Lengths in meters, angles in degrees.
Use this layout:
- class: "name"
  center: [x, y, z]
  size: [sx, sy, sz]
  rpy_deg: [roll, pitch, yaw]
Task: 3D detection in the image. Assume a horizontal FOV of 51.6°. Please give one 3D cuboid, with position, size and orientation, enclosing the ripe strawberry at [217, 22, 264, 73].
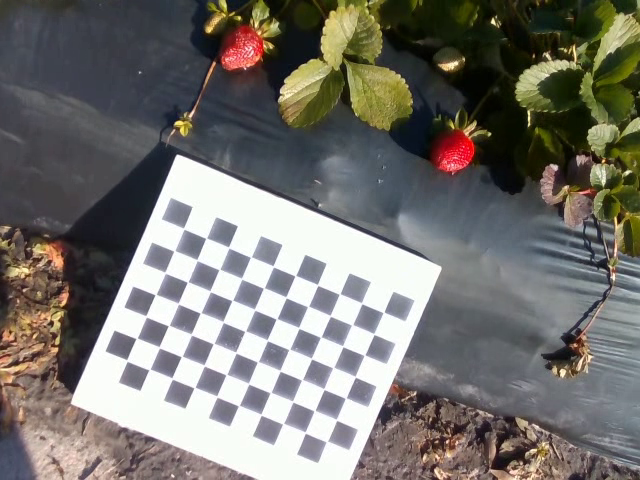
- class: "ripe strawberry"
  center: [-0.071, -0.168, 0.577]
  size: [0.041, 0.053, 0.043]
  rpy_deg: [34, -42, -7]

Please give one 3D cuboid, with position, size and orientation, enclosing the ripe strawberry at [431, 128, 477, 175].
- class: "ripe strawberry"
  center: [0.114, -0.075, 0.580]
  size: [0.043, 0.043, 0.050]
  rpy_deg: [-26, 9, 42]
